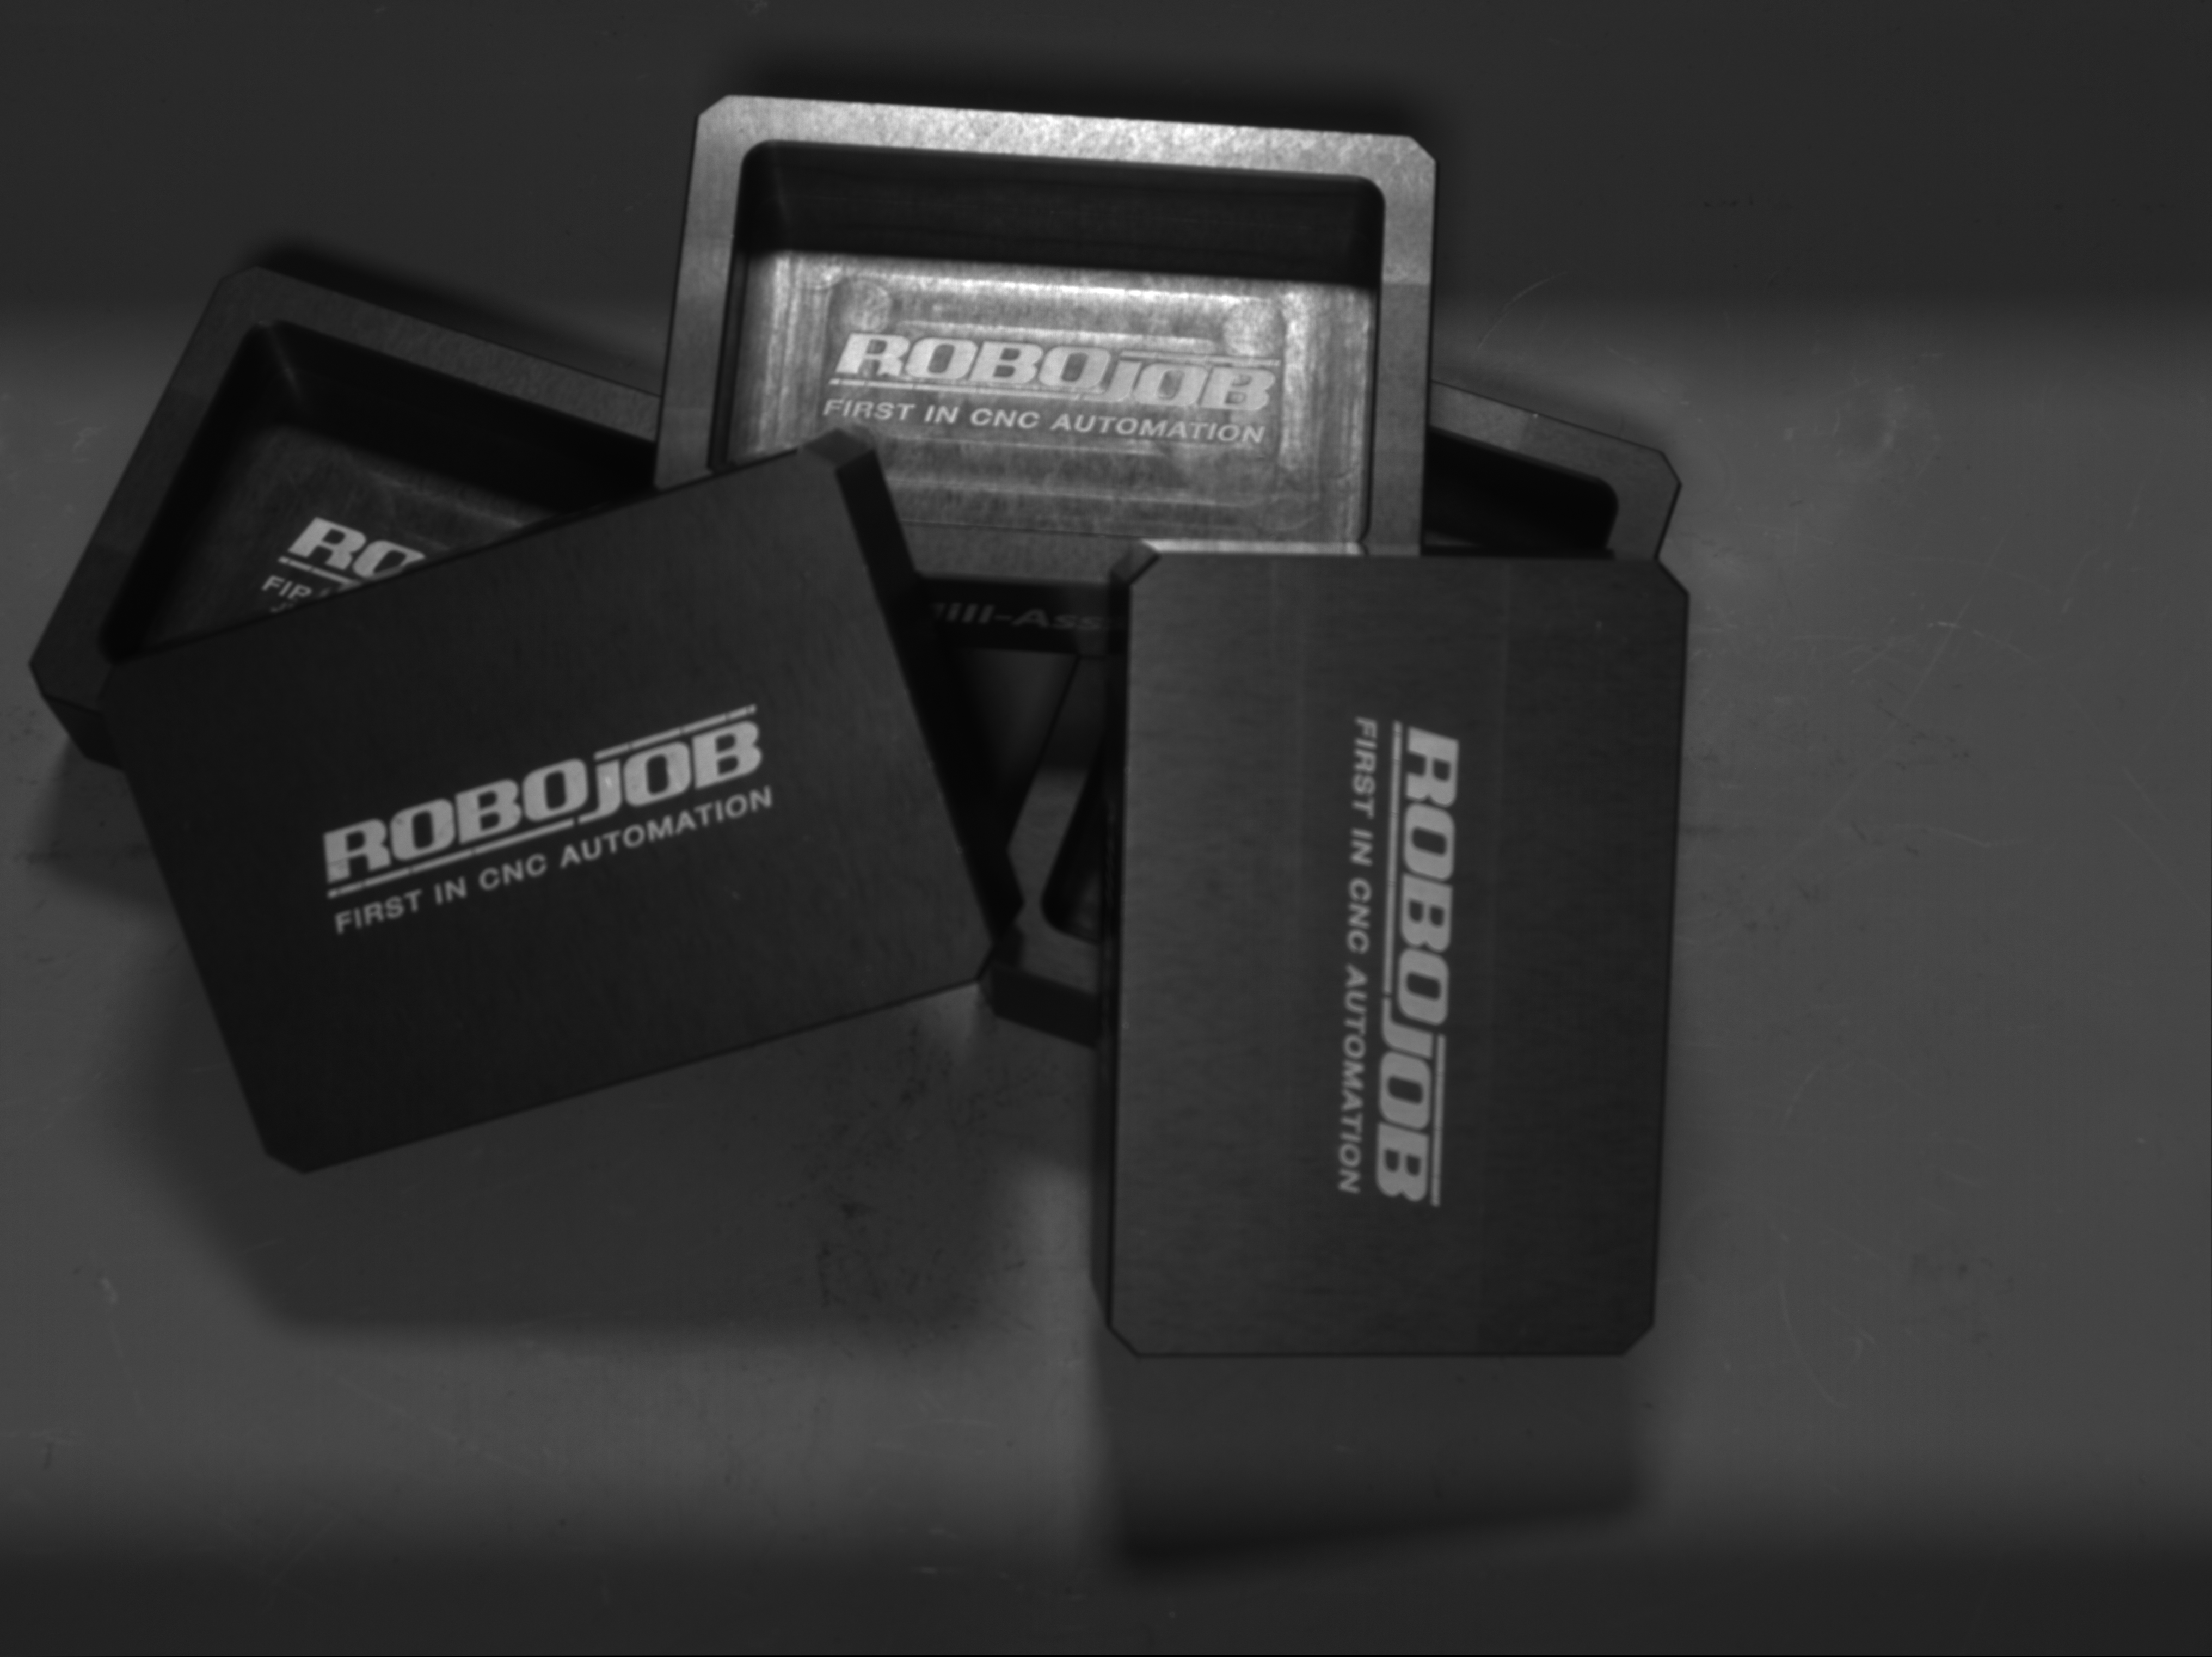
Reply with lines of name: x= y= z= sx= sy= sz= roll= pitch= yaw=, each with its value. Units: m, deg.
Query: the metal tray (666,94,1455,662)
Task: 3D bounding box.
metal tray: x=-0.007 y=-0.078 z=0.637 sx=0.130 sy=0.030 sz=0.090 roll=3 pitch=70 yaw=1

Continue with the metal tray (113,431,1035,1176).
metal tray: x=-0.087 y=-0.004 z=0.606 sx=0.130 sy=0.030 sz=0.090 roll=-16 pitch=99 yaw=11

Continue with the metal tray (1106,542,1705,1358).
metal tray: x=0.048 y=0.020 z=0.599 sx=0.090 sy=0.030 sz=0.130 roll=1 pitch=98 yaw=-6

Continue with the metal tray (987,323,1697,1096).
metal tray: x=0.042 y=-0.017 z=0.647 sx=0.090 sy=0.030 sz=0.130 roll=18 pitch=71 yaw=7

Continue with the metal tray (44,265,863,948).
metal tray: x=-0.109 y=-0.038 z=0.653 sx=0.130 sy=0.030 sz=0.090 roll=19 pitch=71 yaw=7
